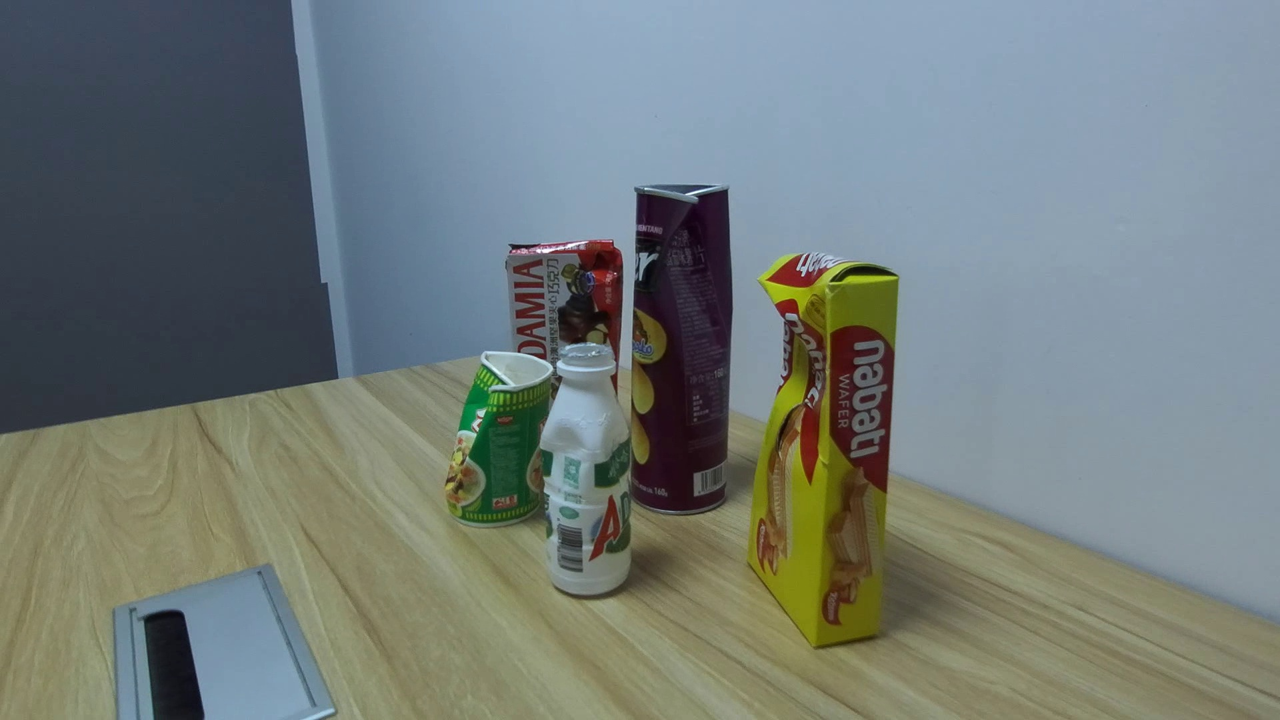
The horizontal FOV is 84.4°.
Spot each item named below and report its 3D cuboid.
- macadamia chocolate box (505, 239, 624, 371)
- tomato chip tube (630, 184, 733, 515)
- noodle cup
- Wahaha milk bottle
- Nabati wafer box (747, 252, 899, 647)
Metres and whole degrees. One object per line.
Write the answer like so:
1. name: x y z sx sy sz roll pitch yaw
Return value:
1. macadamia chocolate box: -0.063 -0.013 0.629 0.102 0.187 0.027 2 19 7
2. tomato chip tube: 0.033 -0.008 0.523 0.078 0.235 0.076 -1 15 -5
3. noodle cup: -0.105 0.058 0.517 0.075 0.122 0.083 13 9 12
4. Wahaha milk bottle: -0.032 0.064 0.423 0.055 0.149 0.055 -1 15 0
5. Nabati wafer box: 0.097 0.043 0.397 0.042 0.204 0.106 -5 16 -12
